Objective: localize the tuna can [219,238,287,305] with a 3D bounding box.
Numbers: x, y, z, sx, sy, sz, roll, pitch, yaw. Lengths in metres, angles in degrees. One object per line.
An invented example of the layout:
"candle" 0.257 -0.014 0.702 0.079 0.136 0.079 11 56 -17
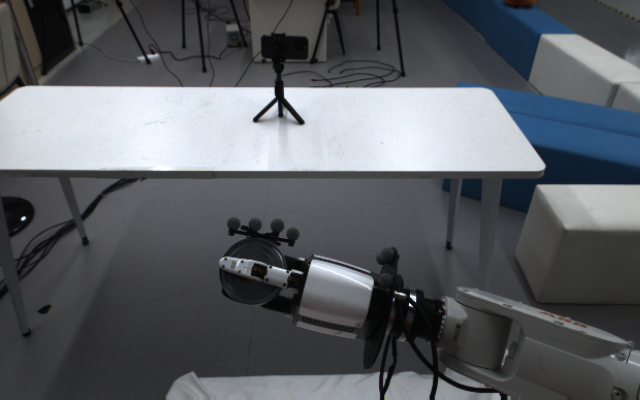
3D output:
"tuna can" -0.084 0.092 0.625 0.085 0.034 0.085 1 72 -2
